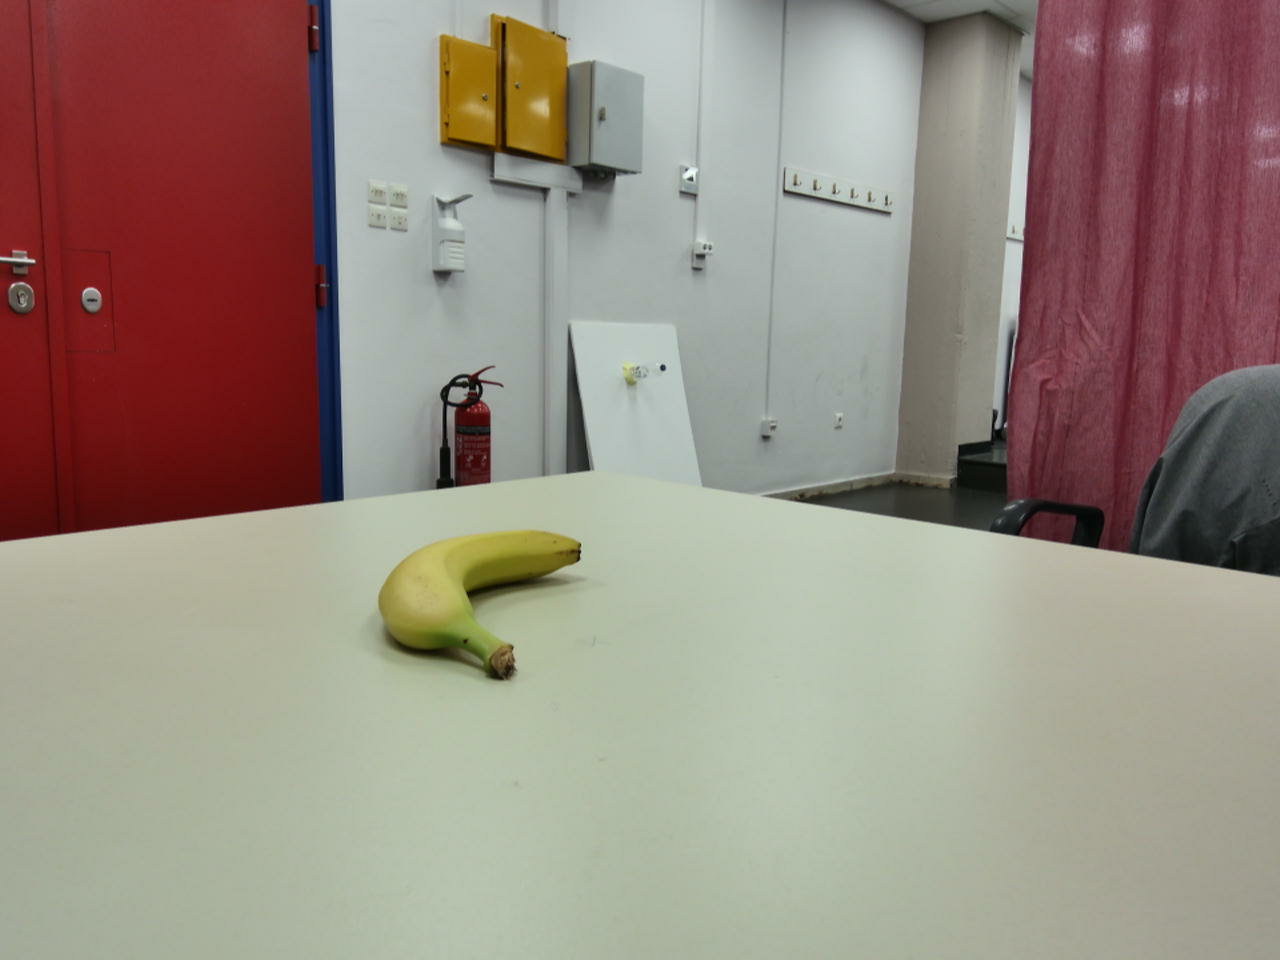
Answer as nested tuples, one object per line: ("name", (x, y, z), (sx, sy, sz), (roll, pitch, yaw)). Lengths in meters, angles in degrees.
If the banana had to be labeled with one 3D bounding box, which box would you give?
("banana", (-0.094, 0.059, 0.561), (0.094, 0.041, 0.196), (2, 7, 7))
